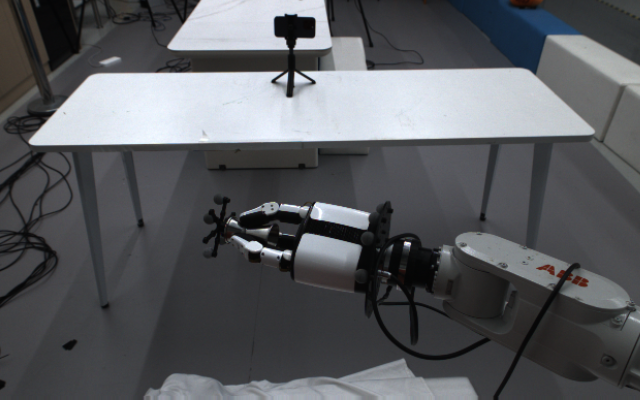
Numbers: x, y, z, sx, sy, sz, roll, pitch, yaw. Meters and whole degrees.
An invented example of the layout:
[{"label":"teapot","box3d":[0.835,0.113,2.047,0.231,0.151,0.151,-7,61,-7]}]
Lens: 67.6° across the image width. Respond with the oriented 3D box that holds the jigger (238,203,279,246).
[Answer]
[{"label":"jigger","box3d":[-0.092,0.047,0.695,0.071,0.043,0.043,11,36,15]}]
